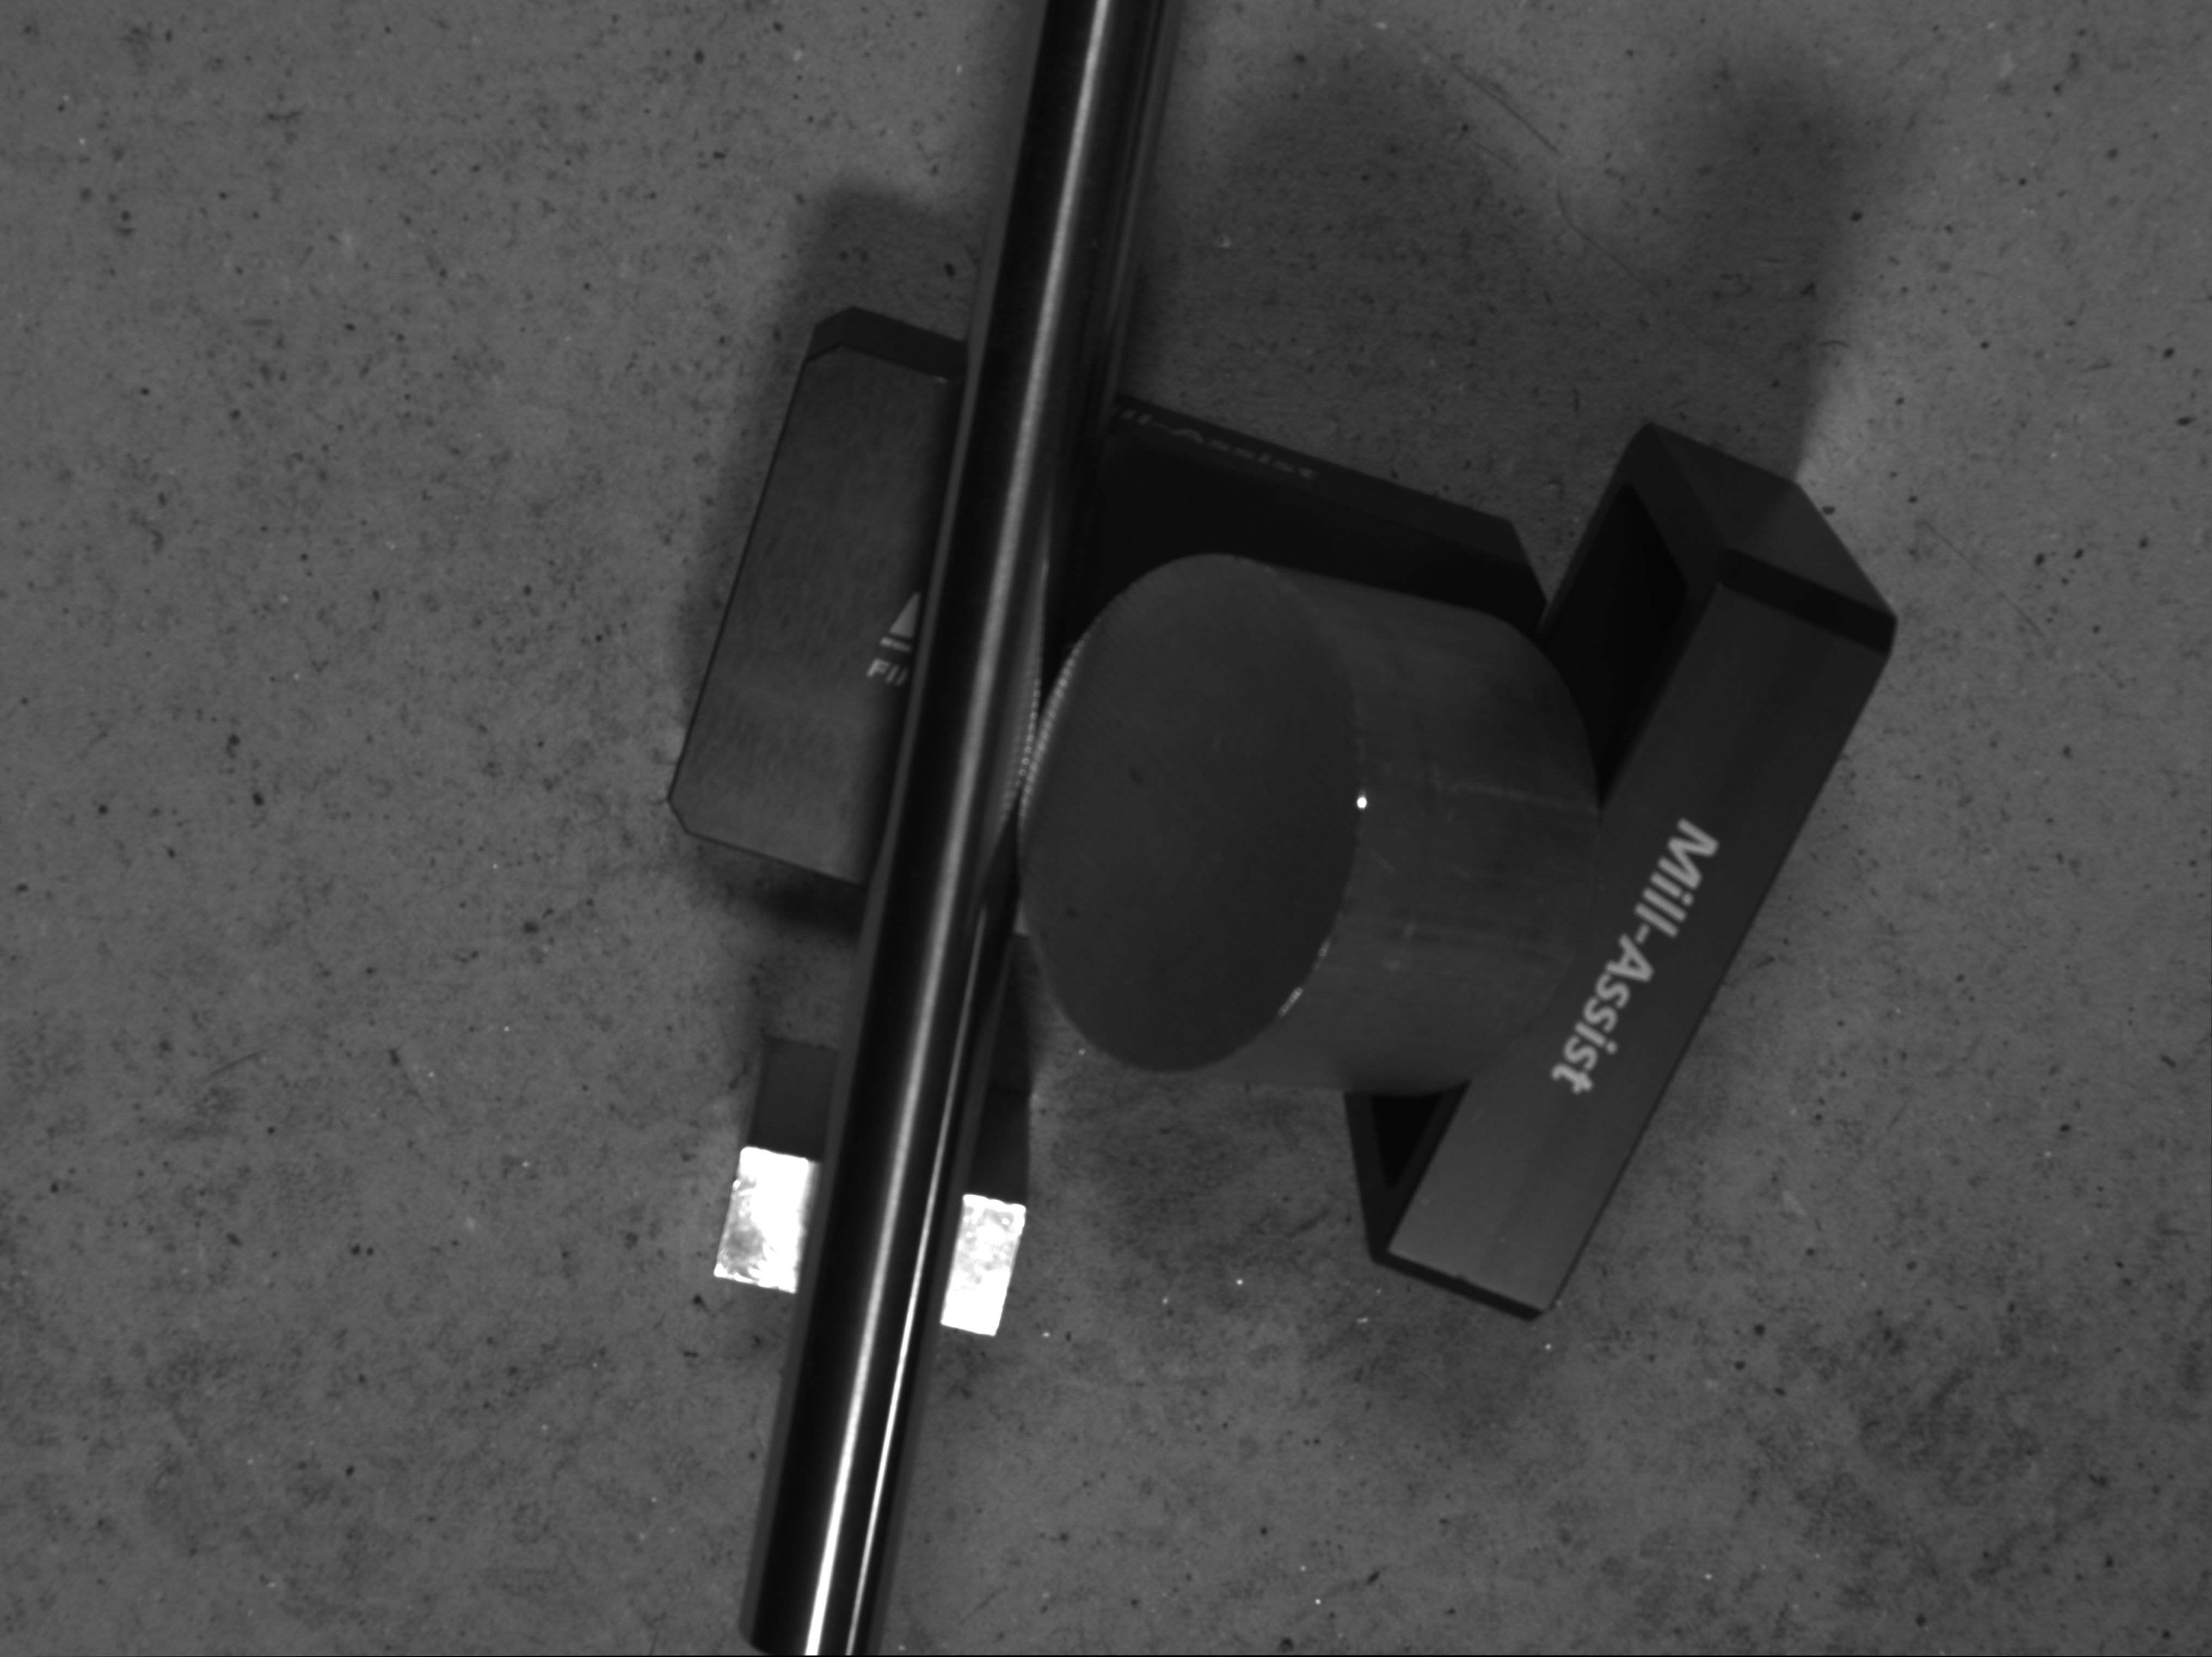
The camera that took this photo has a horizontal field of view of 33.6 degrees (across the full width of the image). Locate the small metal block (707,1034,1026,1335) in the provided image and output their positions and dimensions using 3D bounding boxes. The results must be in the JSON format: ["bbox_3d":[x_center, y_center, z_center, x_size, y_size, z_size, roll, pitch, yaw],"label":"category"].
[{"bbox_3d":[-0.042,0.063,0.652,0.050,0.050,0.025,12,109,-5],"label":"small metal block"}]

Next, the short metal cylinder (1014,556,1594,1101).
[{"bbox_3d":[0.030,0.001,0.576,0.050,0.080,0.080,9,113,-39],"label":"short metal cylinder"}]

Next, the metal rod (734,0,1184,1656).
[{"bbox_3d":[-0.024,-0.006,0.599,0.025,0.025,0.300,10,101,-4],"label":"metal rod"}]

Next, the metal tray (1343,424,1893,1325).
[{"bbox_3d":[0.081,0.006,0.612,0.030,0.090,0.130,21,108,-8],"label":"metal tray"}]

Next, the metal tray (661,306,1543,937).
[{"bbox_3d":[-0.001,-0.026,0.630,0.130,0.030,0.090,17,109,-7],"label":"metal tray"}]
